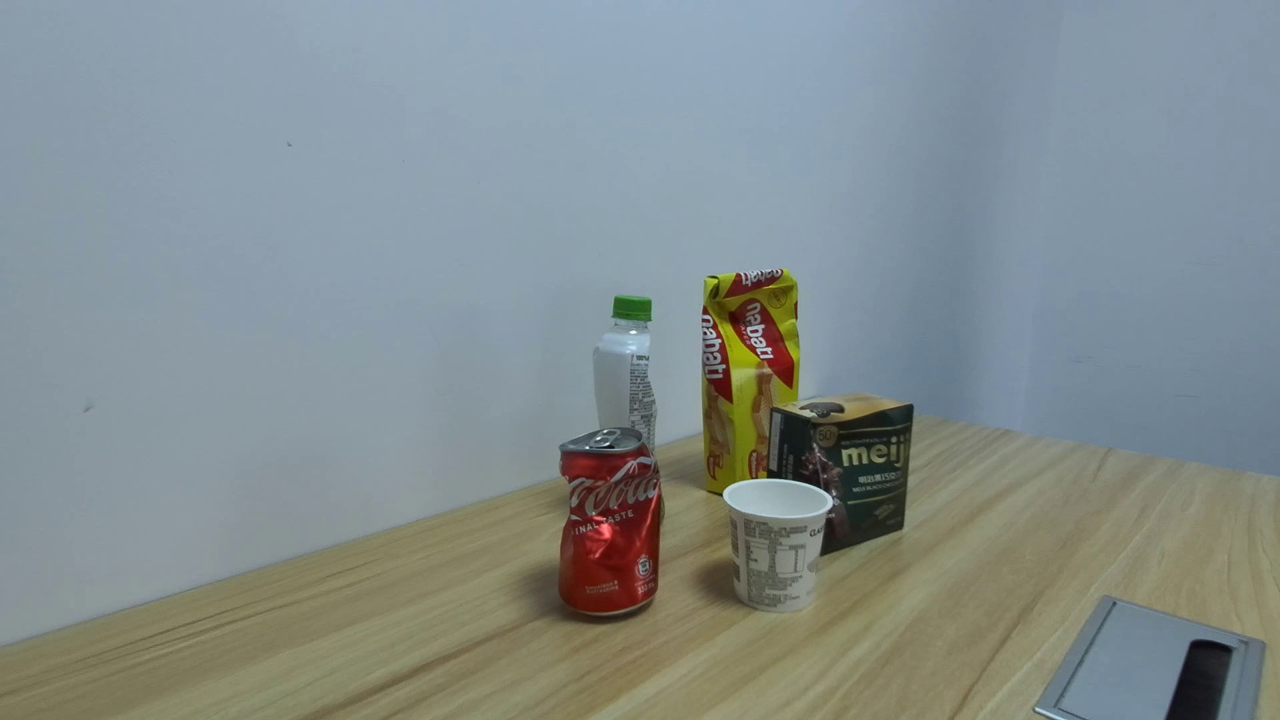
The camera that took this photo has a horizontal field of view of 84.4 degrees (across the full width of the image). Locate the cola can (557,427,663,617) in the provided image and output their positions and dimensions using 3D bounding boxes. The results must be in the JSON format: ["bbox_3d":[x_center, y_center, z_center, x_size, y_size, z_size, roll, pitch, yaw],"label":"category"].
[{"bbox_3d":[-0.020,0.103,0.457,0.069,0.112,0.065,-4,11,-23],"label":"cola can"}]

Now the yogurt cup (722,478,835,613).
[{"bbox_3d":[0.089,0.123,0.468,0.072,0.068,0.072,0,11,0],"label":"yogurt cup"}]

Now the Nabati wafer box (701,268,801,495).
[{"bbox_3d":[0.105,0.021,0.662,0.114,0.205,0.042,-10,13,-41],"label":"Nabati wafer box"}]

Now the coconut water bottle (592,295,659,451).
[{"bbox_3d":[-0.010,0.041,0.577,0.069,0.186,0.069,1,7,0],"label":"coconut water bottle"}]
